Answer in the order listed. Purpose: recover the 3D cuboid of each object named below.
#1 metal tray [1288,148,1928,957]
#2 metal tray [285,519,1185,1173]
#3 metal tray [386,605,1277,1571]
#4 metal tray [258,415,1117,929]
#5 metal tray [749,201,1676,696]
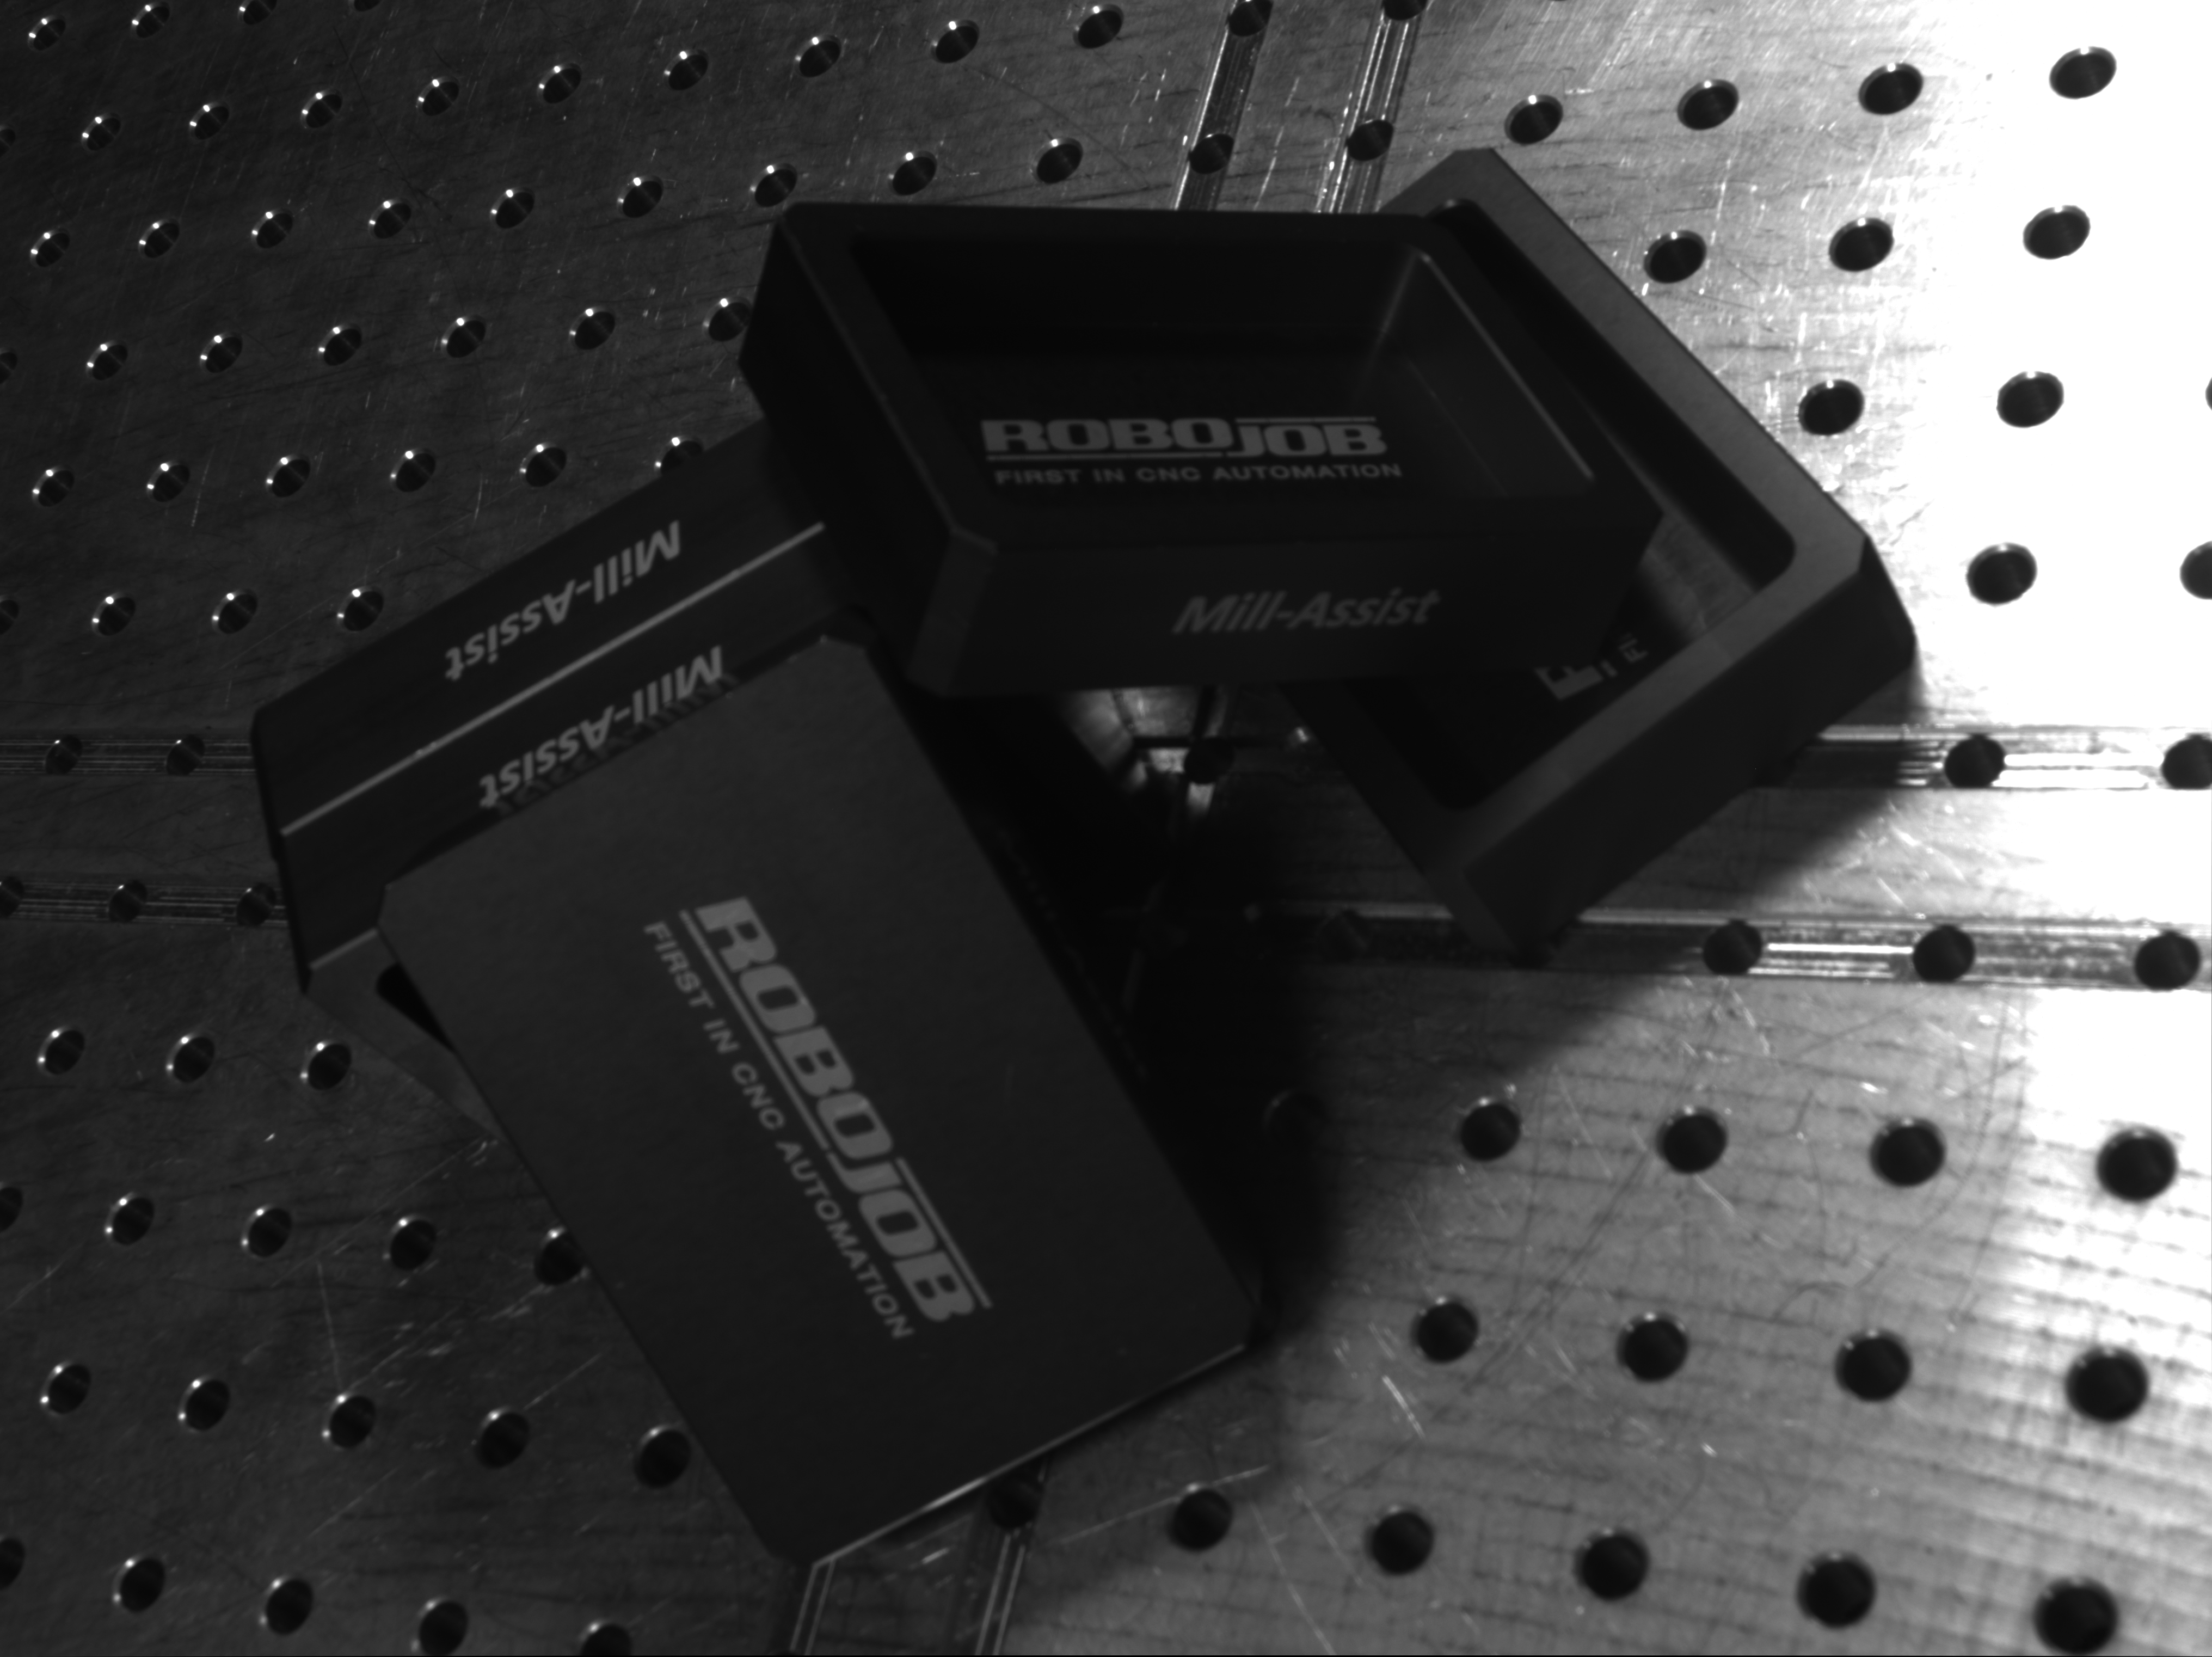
[{"bbox_3d":[0.069,-0.051,0.637,0.090,0.030,0.130,-37,51,3],"label":"metal tray"},{"bbox_3d":[-0.063,0.005,0.634,0.130,0.090,0.030,-29,52,10],"label":"metal tray"},{"bbox_3d":[-0.042,0.042,0.584,0.090,0.130,0.030,-29,10,10],"label":"metal tray"},{"bbox_3d":[-0.072,-0.017,0.654,0.130,0.090,0.030,-29,52,10],"label":"metal tray"},{"bbox_3d":[0.017,-0.065,0.605,0.130,0.030,0.090,-4,45,-28],"label":"metal tray"}]
